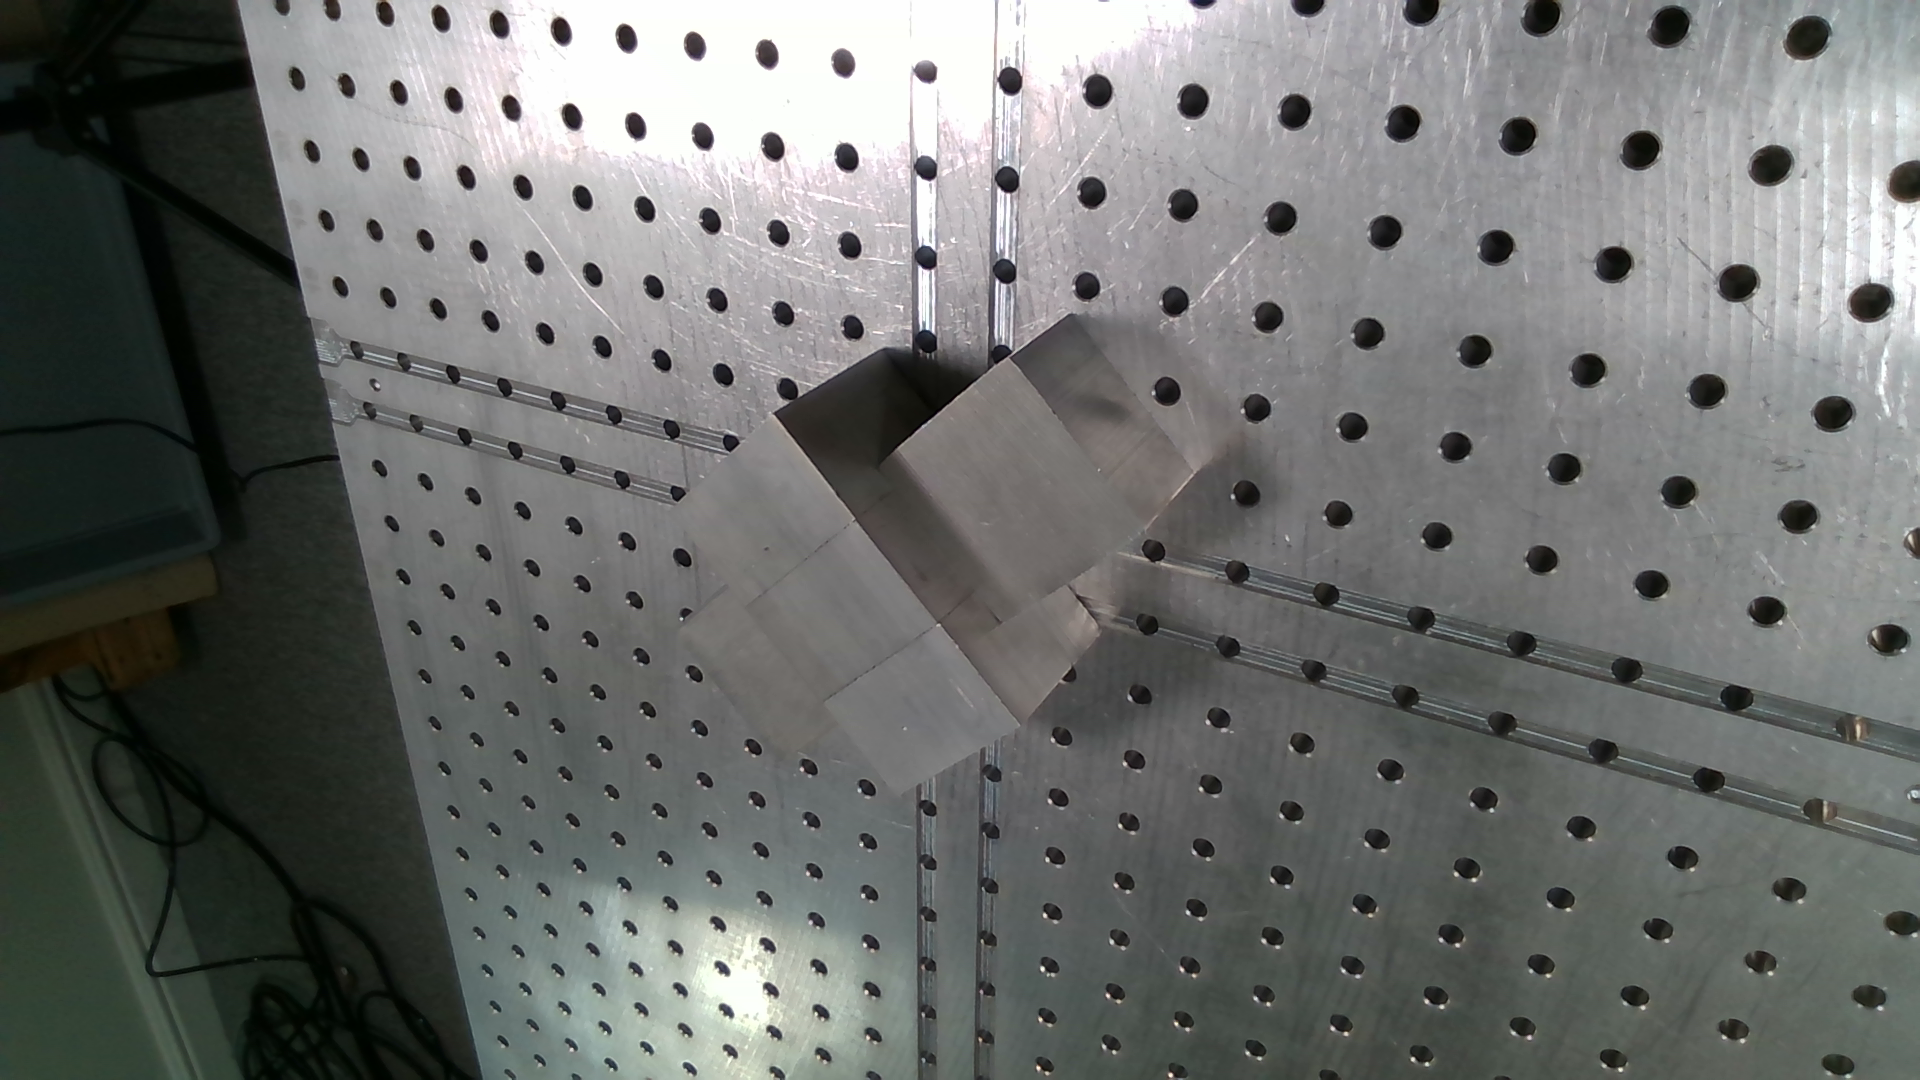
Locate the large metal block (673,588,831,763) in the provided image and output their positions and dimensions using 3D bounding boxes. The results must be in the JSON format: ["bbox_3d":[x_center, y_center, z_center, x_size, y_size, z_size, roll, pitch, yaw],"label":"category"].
[{"bbox_3d":[-0.072,0.044,0.635,0.080,0.050,0.080,-35,93,39],"label":"large metal block"}]

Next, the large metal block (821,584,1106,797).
[{"bbox_3d":[0.002,0.052,0.575,0.080,0.080,0.050,-36,94,39],"label":"large metal block"}]

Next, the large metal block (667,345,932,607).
[{"bbox_3d":[-0.060,-0.027,0.570,0.080,0.080,0.050,-36,94,39],"label":"large metal block"}]

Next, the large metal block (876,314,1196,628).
[{"bbox_3d":[0.029,-0.026,0.532,0.080,0.050,0.080,52,129,-1],"label":"large metal block"}]

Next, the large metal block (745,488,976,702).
[{"bbox_3d":[-0.029,0.012,0.572,0.080,0.080,0.050,-36,94,39],"label":"large metal block"}]
